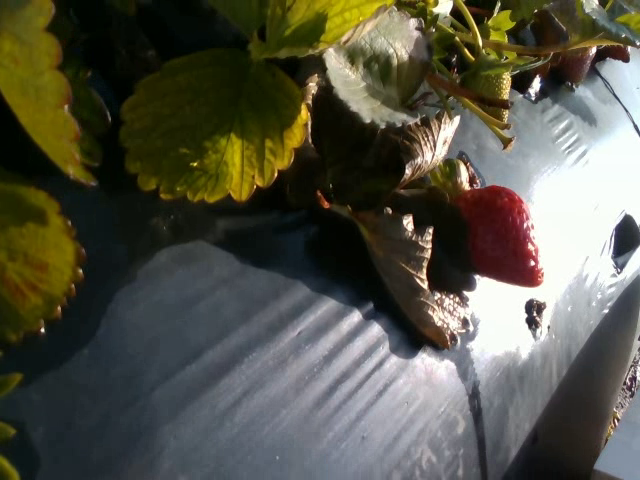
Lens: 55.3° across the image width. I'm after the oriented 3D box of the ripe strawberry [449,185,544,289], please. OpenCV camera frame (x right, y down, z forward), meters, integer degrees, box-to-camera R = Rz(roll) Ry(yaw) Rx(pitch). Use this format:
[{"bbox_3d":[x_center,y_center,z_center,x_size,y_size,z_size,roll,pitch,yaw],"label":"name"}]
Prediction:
[{"bbox_3d":[0.067,0.006,0.215,0.037,0.054,0.046,-41,-25,29],"label":"ripe strawberry"}]
